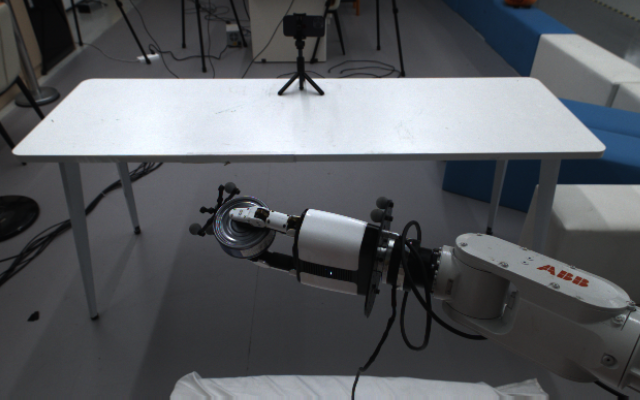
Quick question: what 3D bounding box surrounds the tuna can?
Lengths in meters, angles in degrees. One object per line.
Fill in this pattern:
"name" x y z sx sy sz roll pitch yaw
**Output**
"tuna can" -0.103 0.042 0.682 0.085 0.034 0.085 -1 62 2
